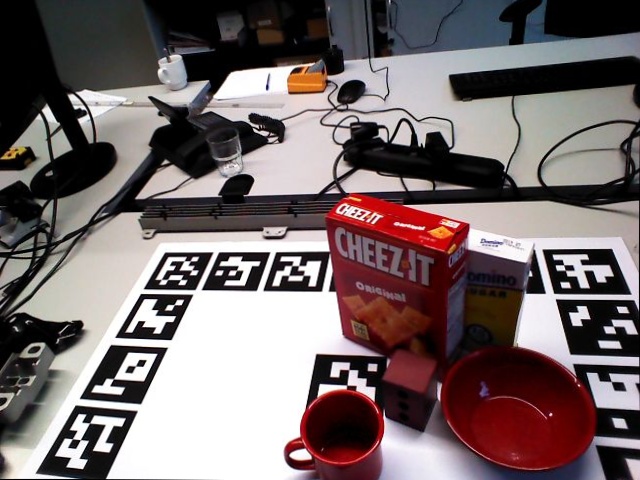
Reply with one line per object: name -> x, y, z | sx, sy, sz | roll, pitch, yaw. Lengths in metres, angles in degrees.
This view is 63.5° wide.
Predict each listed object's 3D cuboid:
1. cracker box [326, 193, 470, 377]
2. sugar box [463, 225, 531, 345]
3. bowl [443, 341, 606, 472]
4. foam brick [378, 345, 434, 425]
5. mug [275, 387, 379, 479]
cracker box -> 0.097, 0.057, 0.663 | 0.165, 0.214, 0.071 | 22, 46, 35
sugar box -> 0.210, 0.060, 0.657 | 0.093, 0.177, 0.045 | 14, 44, 30
bowl -> 0.220, 0.190, 0.571 | 0.162, 0.055, 0.161 | -7, 38, 6
foam brick -> 0.106, 0.175, 0.626 | 0.053, 0.078, 0.051 | 9, 41, 26
mug -> 0.009, 0.226, 0.569 | 0.117, 0.081, 0.093 | -8, 29, 8
